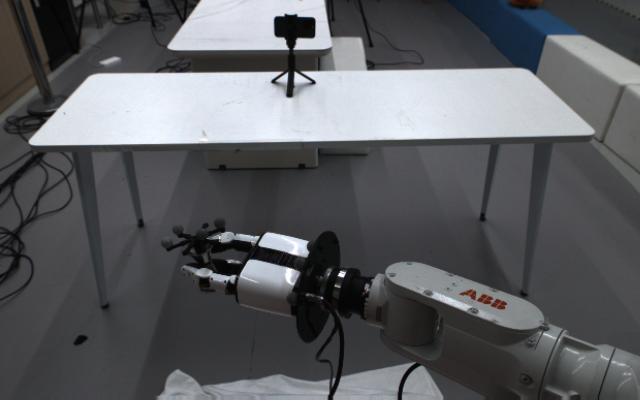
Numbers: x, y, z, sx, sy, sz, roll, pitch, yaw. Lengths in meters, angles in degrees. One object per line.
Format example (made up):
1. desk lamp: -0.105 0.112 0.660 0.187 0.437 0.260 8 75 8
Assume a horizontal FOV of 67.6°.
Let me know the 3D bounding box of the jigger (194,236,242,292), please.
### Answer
1. jigger: -0.173 0.103 0.745 0.043 0.071 0.043 -12 25 5
